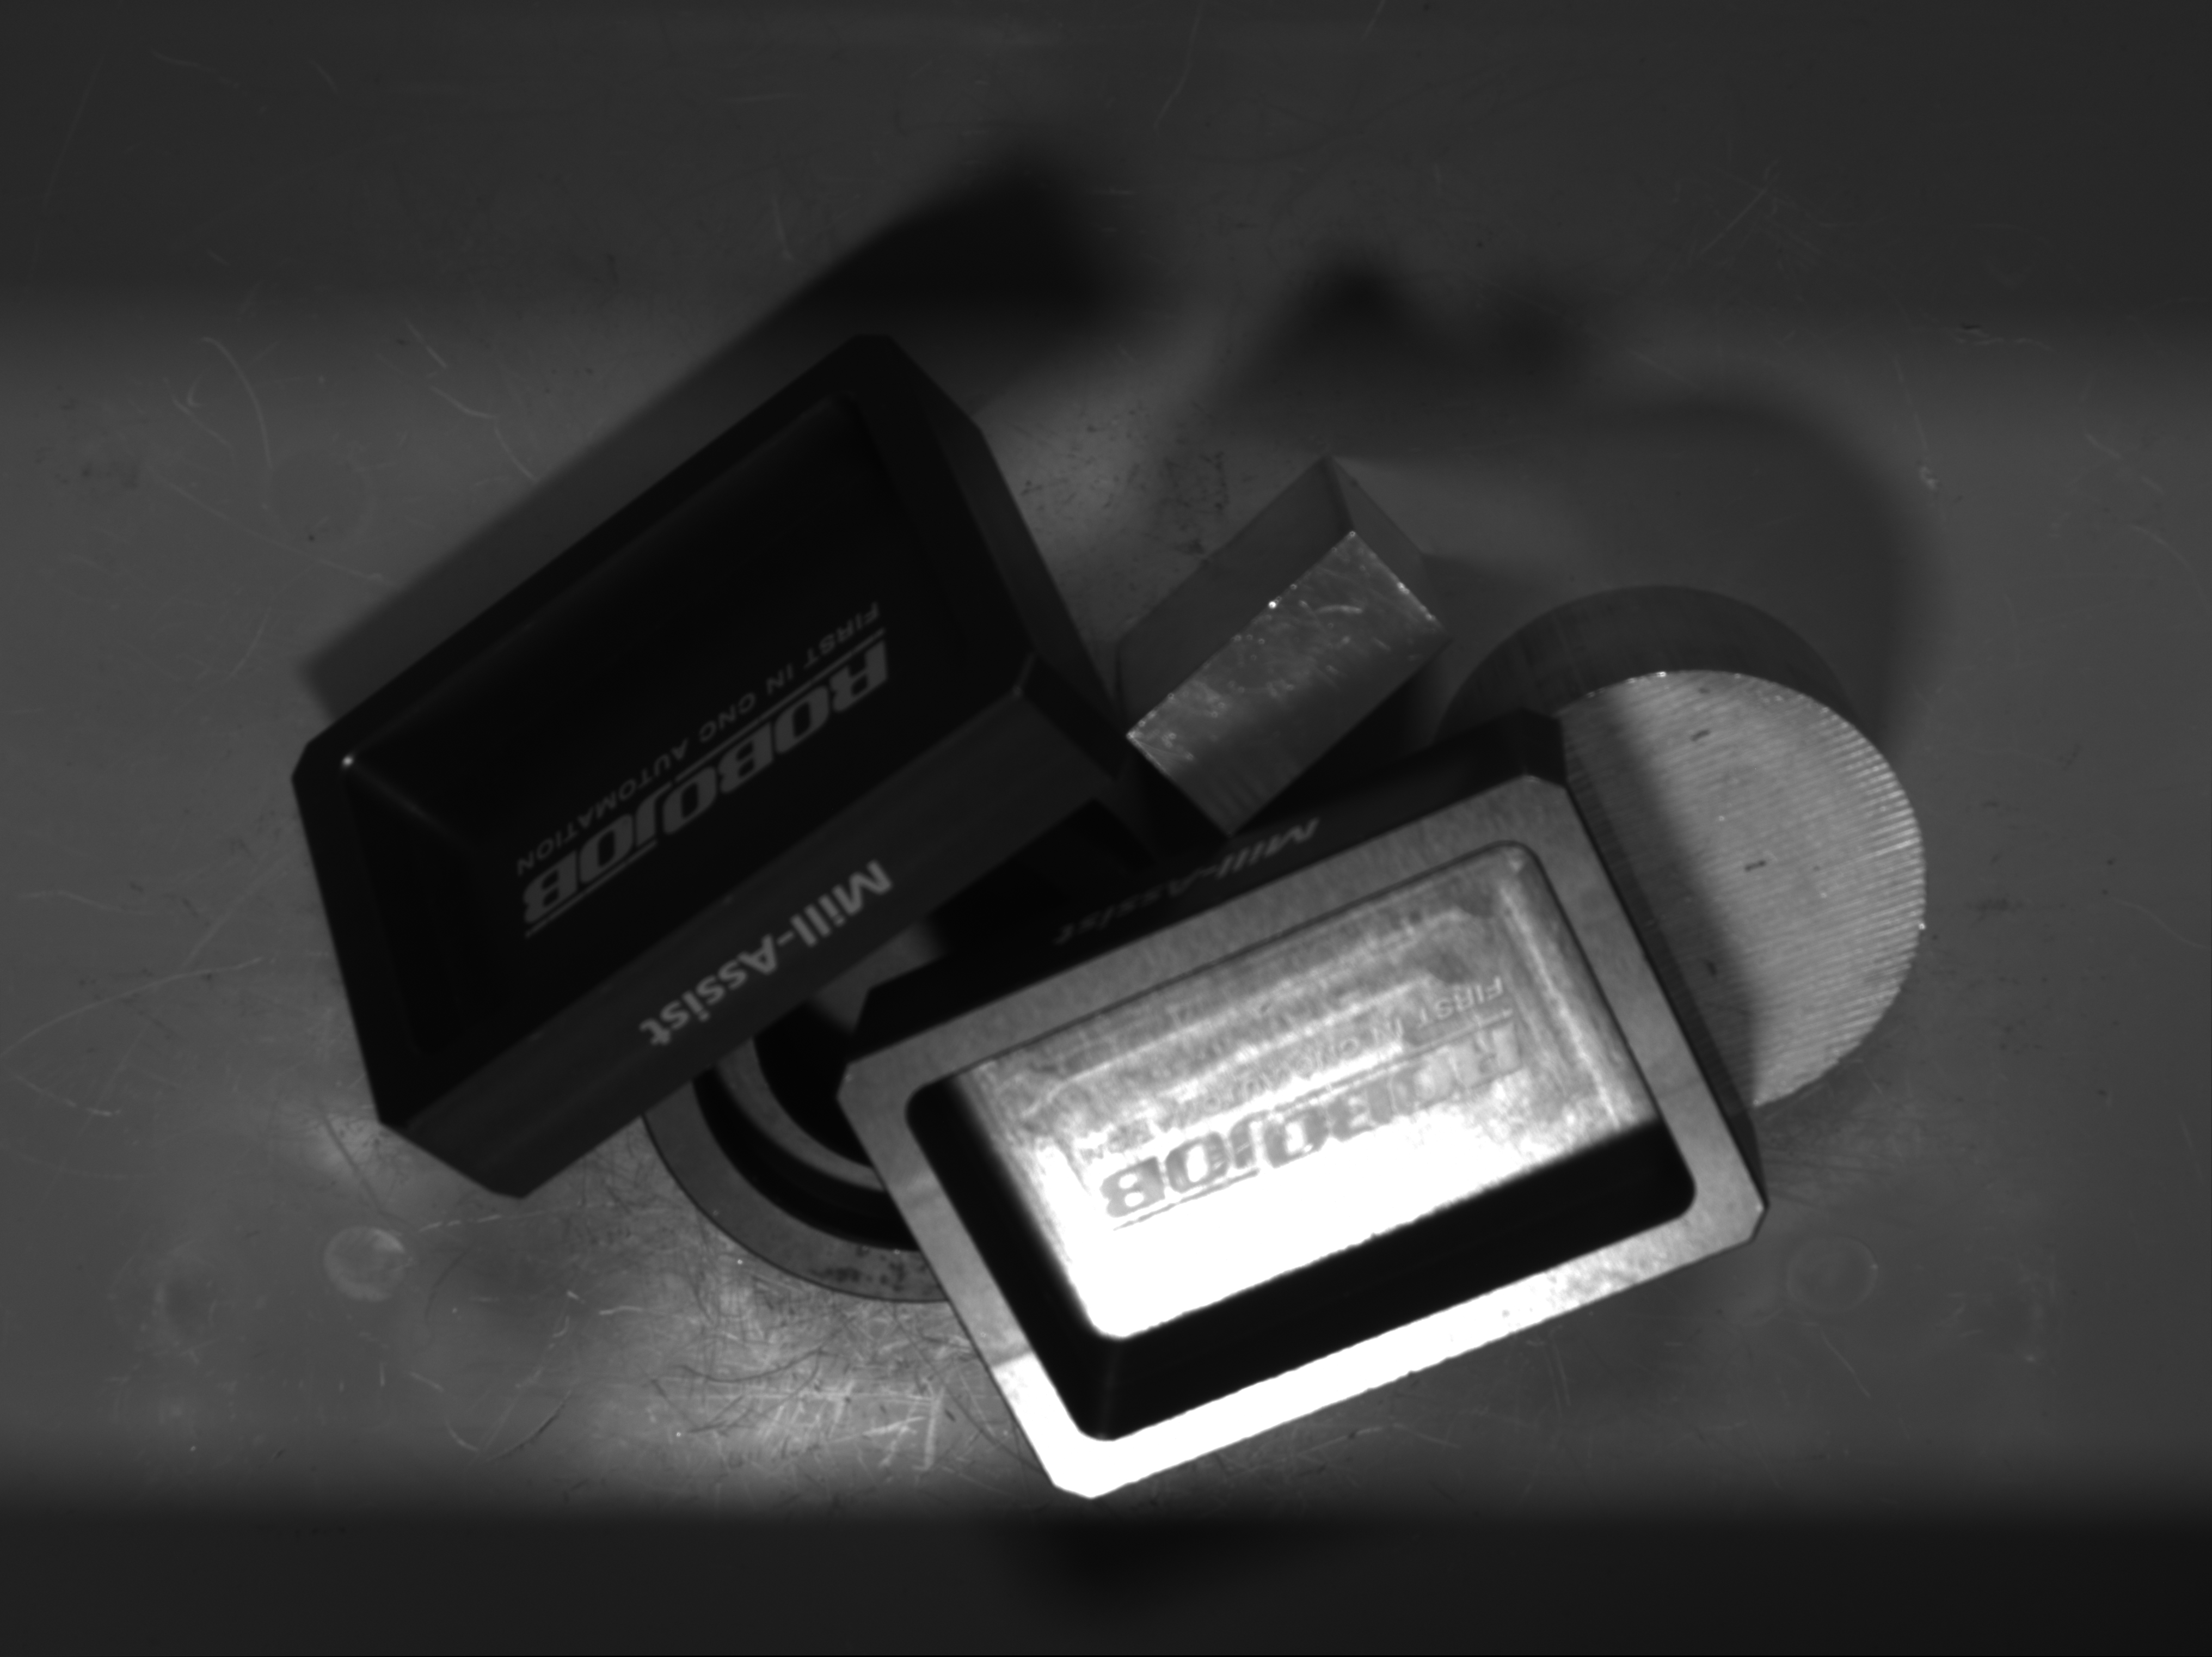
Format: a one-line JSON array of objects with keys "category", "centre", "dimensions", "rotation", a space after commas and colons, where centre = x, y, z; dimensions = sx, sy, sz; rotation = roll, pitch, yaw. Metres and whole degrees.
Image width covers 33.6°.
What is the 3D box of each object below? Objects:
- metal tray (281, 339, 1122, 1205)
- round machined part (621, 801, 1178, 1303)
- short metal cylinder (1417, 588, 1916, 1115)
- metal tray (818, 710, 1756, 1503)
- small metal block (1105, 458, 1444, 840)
[{"category": "metal tray", "centre": [-0.070, -0.010, 0.601], "dimensions": [0.130, 0.090, 0.030], "rotation": [-35, 138, 11]}, {"category": "round machined part", "centre": [-0.035, 0.030, 0.645], "dimensions": [0.098, 0.042, 0.098], "rotation": [0, 110, -1]}, {"category": "short metal cylinder", "centre": [0.094, 0.004, 0.631], "dimensions": [0.080, 0.050, 0.080], "rotation": [0, 110, -1]}, {"category": "metal tray", "centre": [0.030, 0.047, 0.606], "dimensions": [0.130, 0.030, 0.090], "rotation": [-24, 108, 12]}, {"category": "small metal block", "centre": [0.027, -0.031, 0.617], "dimensions": [0.050, 0.050, 0.025], "rotation": [-42, 105, 12]}]
